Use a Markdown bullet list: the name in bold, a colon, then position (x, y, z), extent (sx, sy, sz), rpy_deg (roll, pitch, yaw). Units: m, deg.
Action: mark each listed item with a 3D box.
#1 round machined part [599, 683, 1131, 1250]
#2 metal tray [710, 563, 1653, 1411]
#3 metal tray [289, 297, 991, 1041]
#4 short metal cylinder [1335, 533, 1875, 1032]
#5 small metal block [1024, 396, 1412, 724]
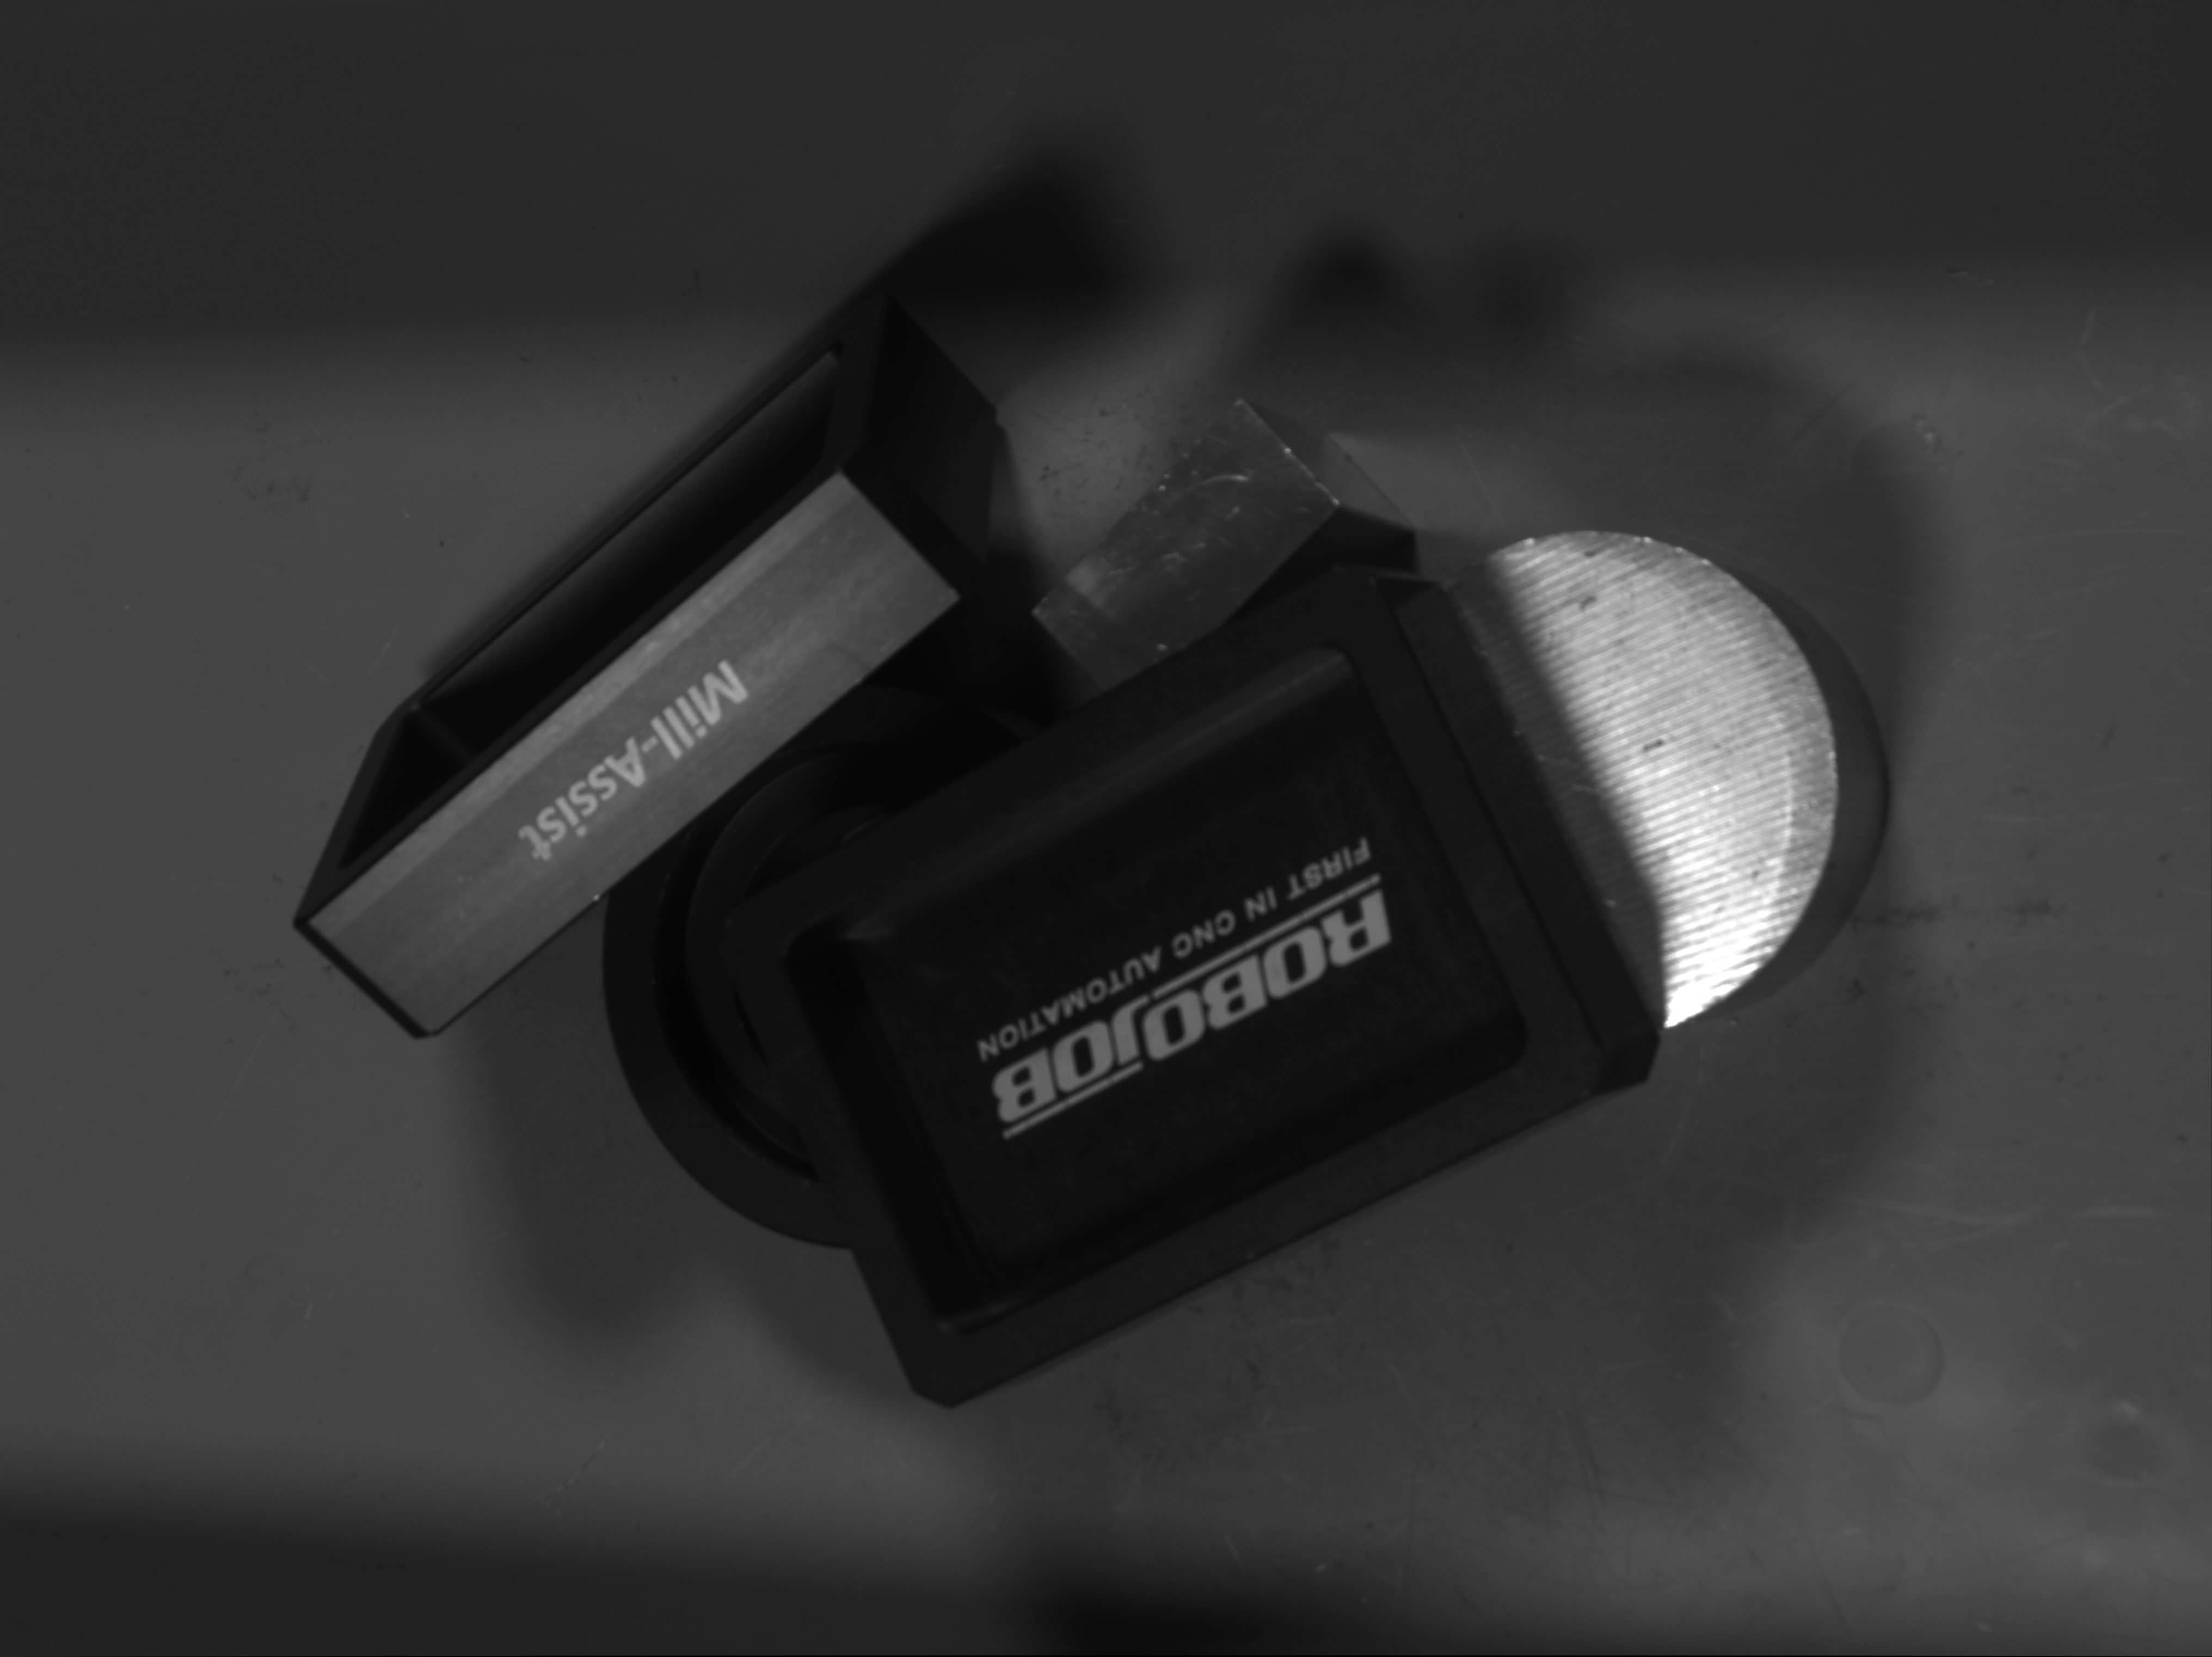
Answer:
- **round machined part**: position (-0.037, 0.024, 0.648), extent (0.098, 0.042, 0.098), rpy_deg (0, 90, 20)
- **metal tray**: position (0.010, 0.026, 0.586), extent (0.130, 0.030, 0.090), rpy_deg (-29, 80, 22)
- **metal tray**: position (-0.079, -0.029, 0.635), extent (0.130, 0.090, 0.030), rpy_deg (-38, 109, 15)
- **short metal cylinder**: position (0.083, -0.006, 0.600), extent (0.080, 0.050, 0.080), rpy_deg (0, 90, 20)
- **small metal block**: position (0.020, -0.044, 0.622), extent (0.050, 0.050, 0.025), rpy_deg (-45, 76, 13)
